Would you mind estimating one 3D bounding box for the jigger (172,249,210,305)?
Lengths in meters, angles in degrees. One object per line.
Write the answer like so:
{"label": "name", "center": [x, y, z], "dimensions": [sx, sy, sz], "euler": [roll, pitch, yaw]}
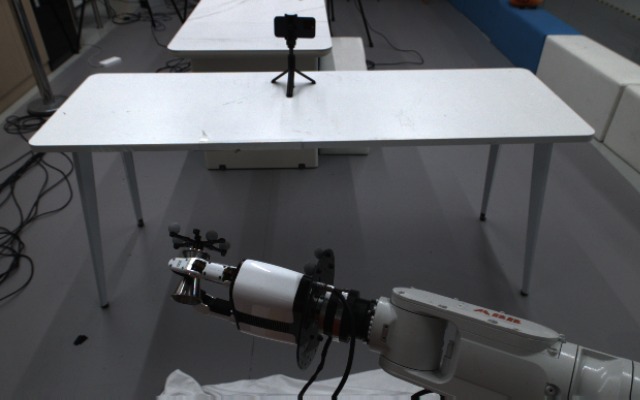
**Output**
{"label": "jigger", "center": [-0.181, 0.106, 0.676], "dimensions": [0.043, 0.043, 0.071], "euler": [4, 61, 3]}
